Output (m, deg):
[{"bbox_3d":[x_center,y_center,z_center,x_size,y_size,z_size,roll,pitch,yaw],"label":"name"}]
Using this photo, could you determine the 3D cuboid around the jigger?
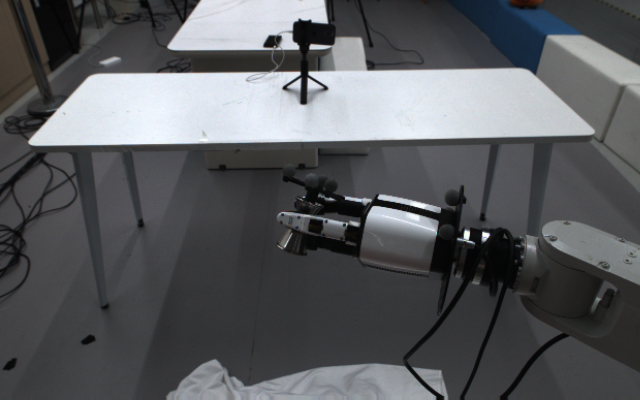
[{"bbox_3d":[-0.026,0.031,0.620,0.043,0.071,0.043,22,6,-2],"label":"jigger"}]
